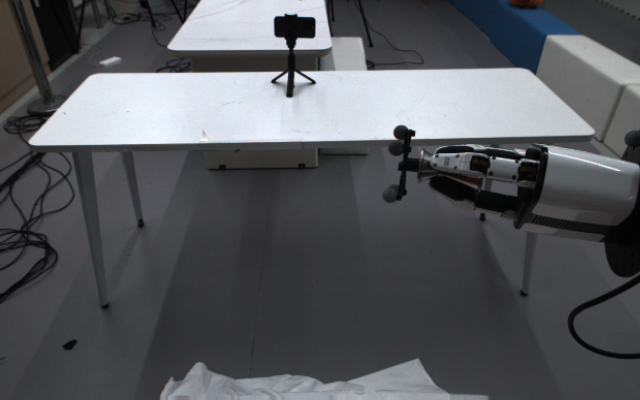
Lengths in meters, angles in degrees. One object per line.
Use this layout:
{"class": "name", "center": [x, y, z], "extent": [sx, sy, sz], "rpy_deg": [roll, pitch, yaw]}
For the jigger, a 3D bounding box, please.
{"class": "jigger", "center": [0.151, -0.037, 0.538], "extent": [0.071, 0.043, 0.043], "rpy_deg": [8, 35, 14]}
